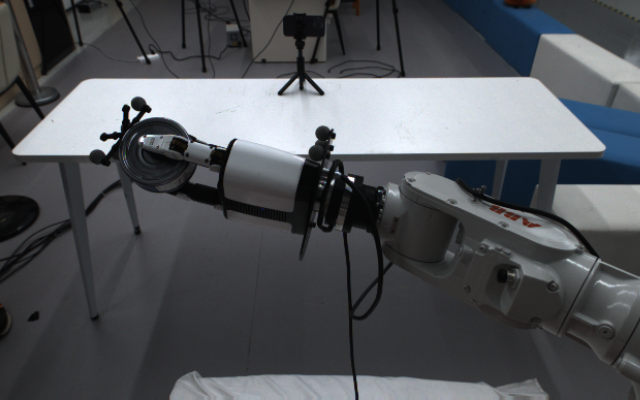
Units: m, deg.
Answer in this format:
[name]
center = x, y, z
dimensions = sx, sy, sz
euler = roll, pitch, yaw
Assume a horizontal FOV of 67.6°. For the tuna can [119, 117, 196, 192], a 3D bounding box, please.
[tuna can]
center = -0.189, -0.053, 0.576
dimensions = 0.085, 0.034, 0.085
euler = 1, 78, -6
